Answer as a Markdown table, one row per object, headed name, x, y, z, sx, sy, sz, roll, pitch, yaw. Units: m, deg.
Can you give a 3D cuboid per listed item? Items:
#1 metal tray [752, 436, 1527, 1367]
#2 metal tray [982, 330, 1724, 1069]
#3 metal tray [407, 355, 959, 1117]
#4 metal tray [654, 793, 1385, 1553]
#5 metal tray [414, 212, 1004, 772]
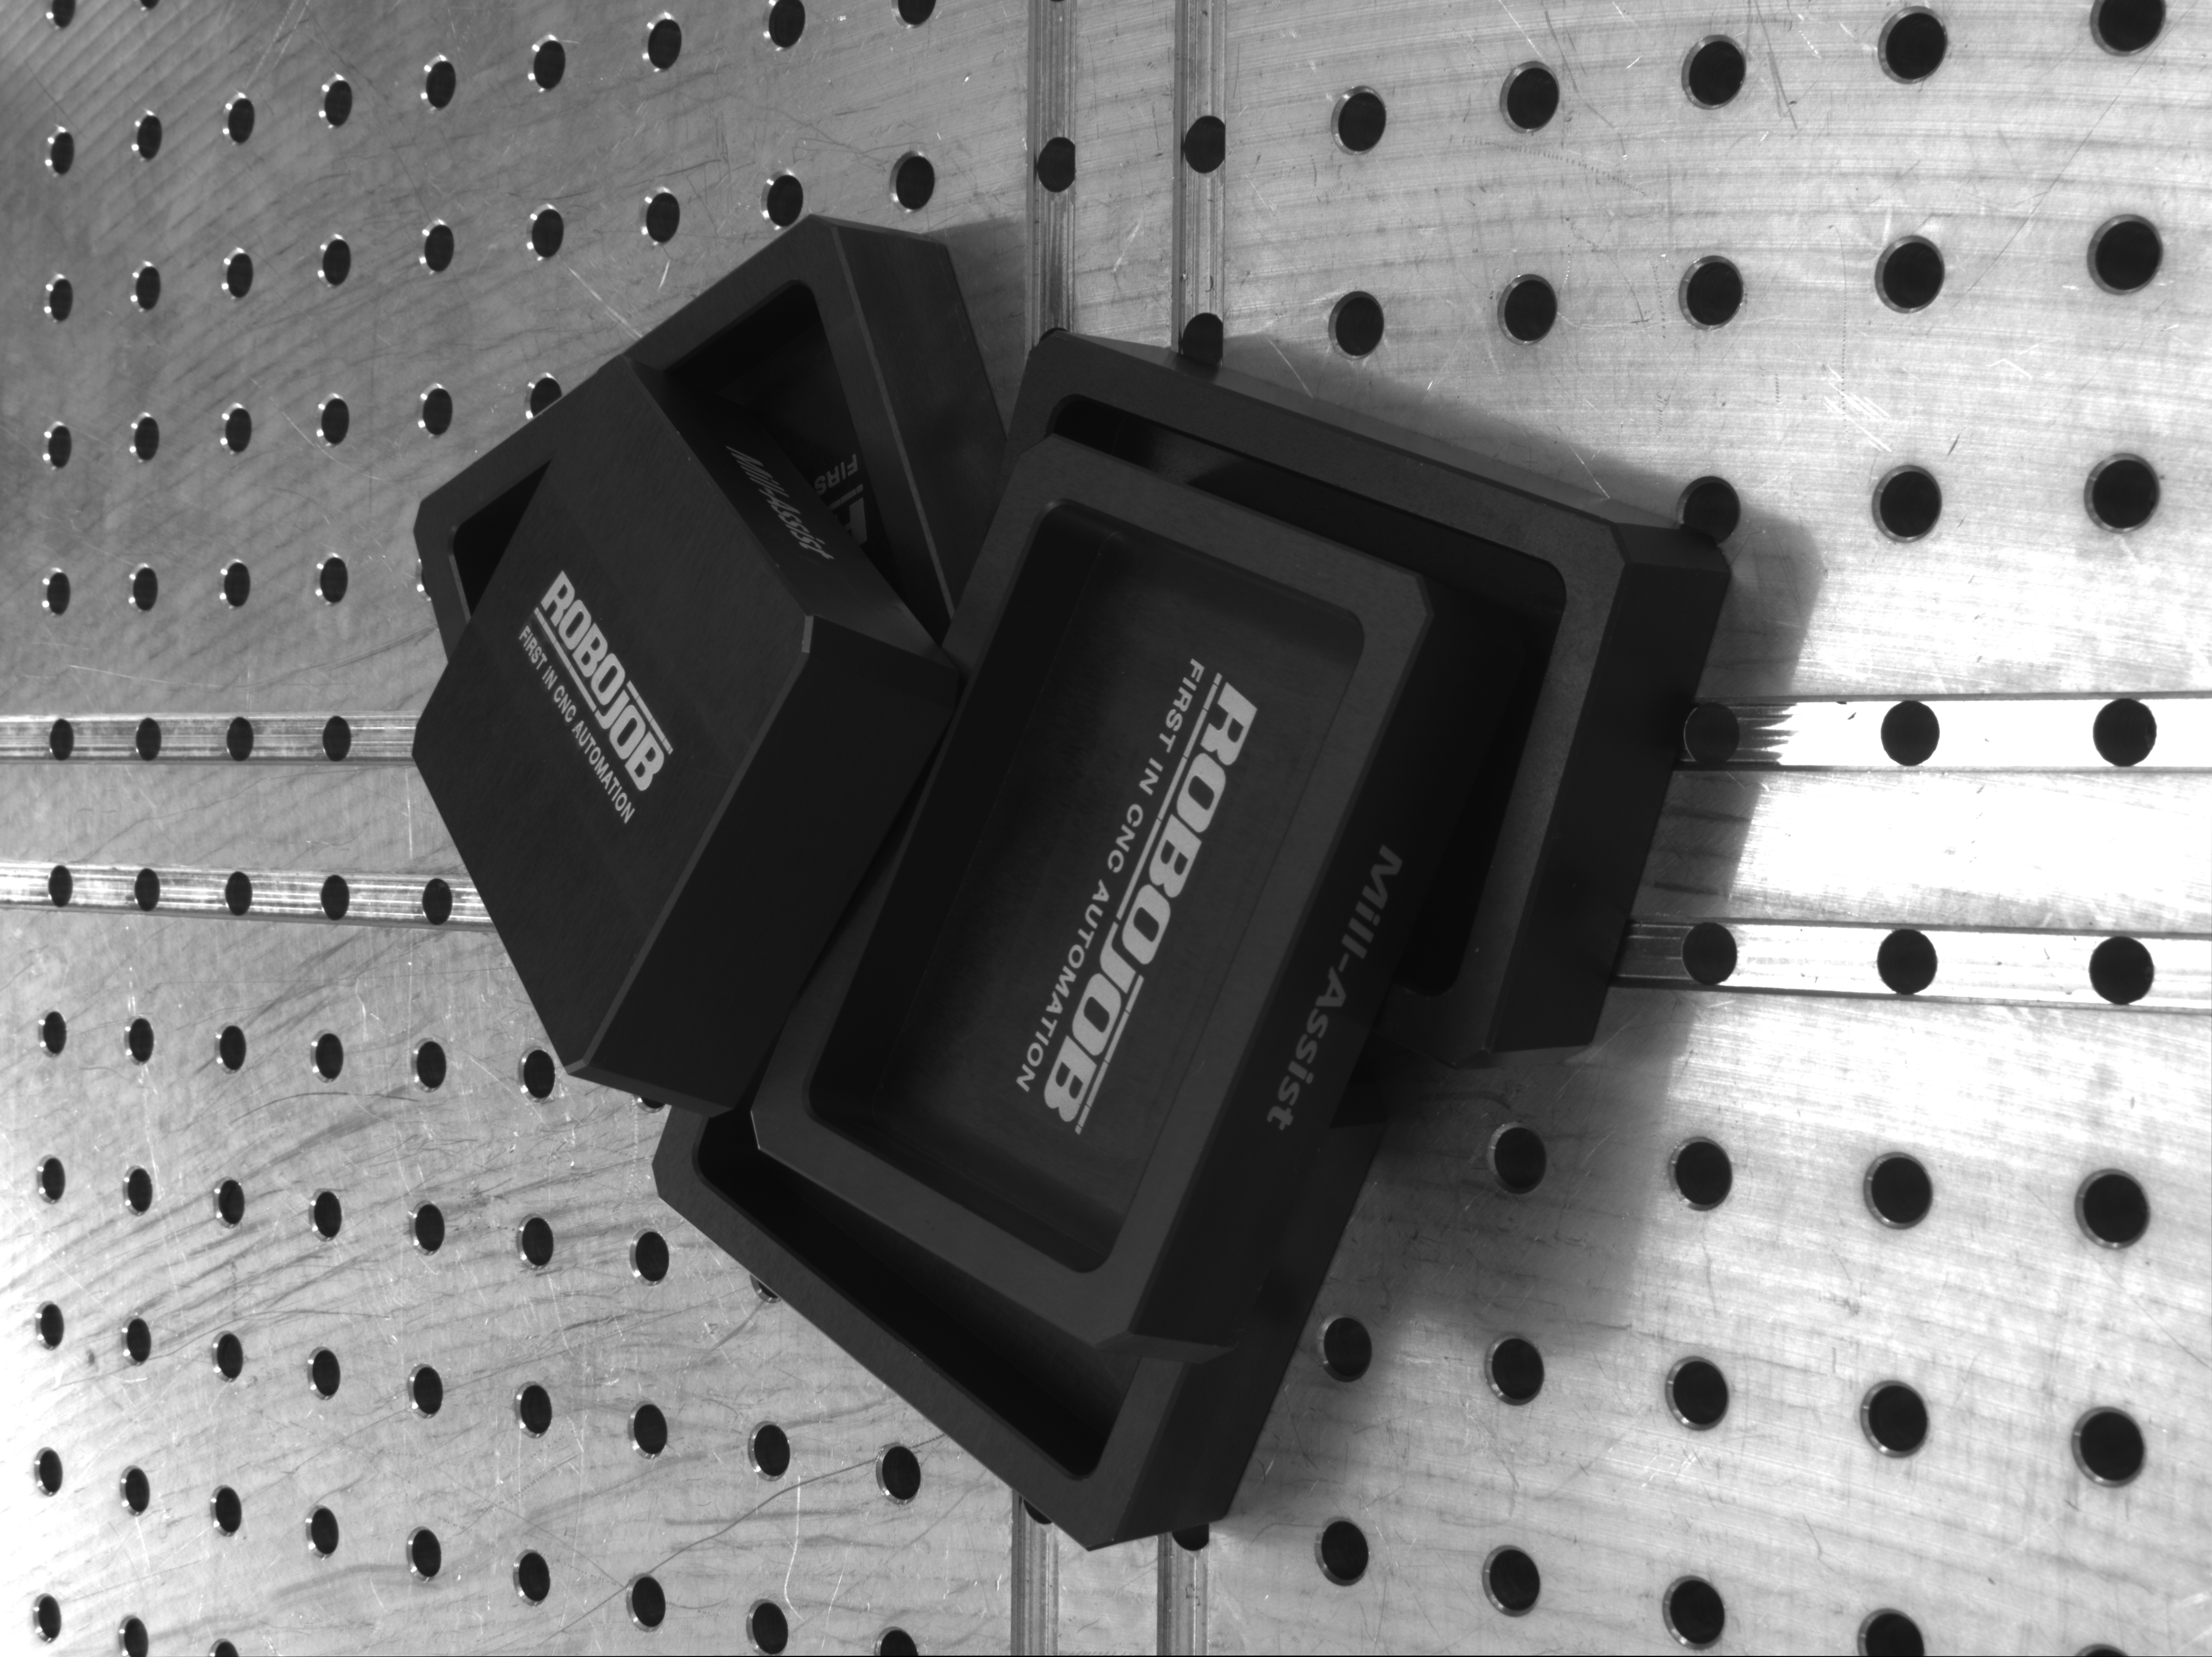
| name | x | y | z | sx | sy | sz | roll | pitch | yaw |
| --- | --- | --- | --- | --- | --- | --- | --- | --- | --- |
| metal tray | 0.003 | 0.011 | 0.602 | 0.090 | 0.030 | 0.130 | 25 | 94 | 38 |
| metal tray | 0.032 | -0.024 | 0.617 | 0.130 | 0.030 | 0.090 | 25 | 105 | 38 |
| metal tray | -0.080 | -0.020 | 0.660 | 0.090 | 0.030 | 0.130 | -60 | 33 | 14 |
| metal tray | -0.019 | 0.057 | 0.662 | 0.130 | 0.030 | 0.090 | 33 | 110 | 35 |
| metal tray | -0.074 | -0.048 | 0.708 | 0.130 | 0.030 | 0.090 | -29 | 72 | 37 |
